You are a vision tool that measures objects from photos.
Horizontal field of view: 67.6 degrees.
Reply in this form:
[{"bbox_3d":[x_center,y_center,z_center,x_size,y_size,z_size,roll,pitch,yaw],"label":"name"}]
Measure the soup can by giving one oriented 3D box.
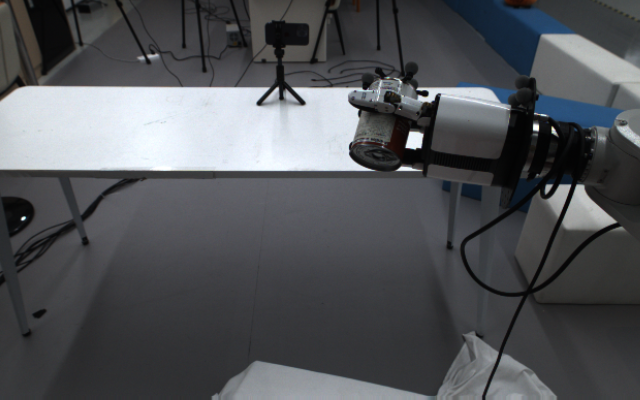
[{"bbox_3d":[0.082,-0.099,0.624,0.067,0.067,0.101,12,70,14],"label":"soup can"}]
